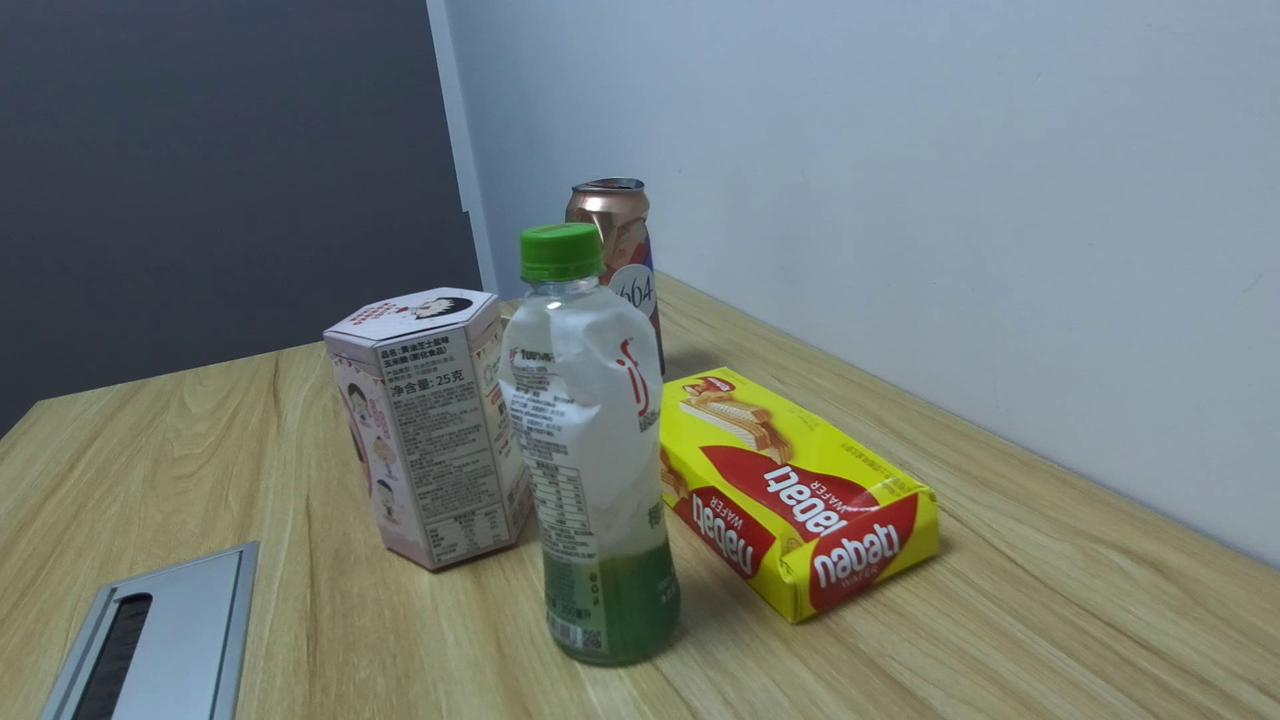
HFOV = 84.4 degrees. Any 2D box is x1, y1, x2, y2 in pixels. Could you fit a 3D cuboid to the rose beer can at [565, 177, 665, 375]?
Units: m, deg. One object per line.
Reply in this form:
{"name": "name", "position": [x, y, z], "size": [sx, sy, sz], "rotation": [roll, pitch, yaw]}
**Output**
{"name": "rose beer can", "position": [-0.015, -0.056, 0.558], "size": [0.065, 0.167, 0.076], "rotation": [18, 30, 39]}

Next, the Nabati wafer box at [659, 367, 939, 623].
{"name": "Nabati wafer box", "position": [0.065, 0.062, 0.413], "size": [0.097, 0.042, 0.202], "rotation": [-13, 24, -22]}

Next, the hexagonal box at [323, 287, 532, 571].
{"name": "hexagonal box", "position": [-0.113, 0.037, 0.397], "size": [0.084, 0.136, 0.091], "rotation": [-2, 22, 10]}
